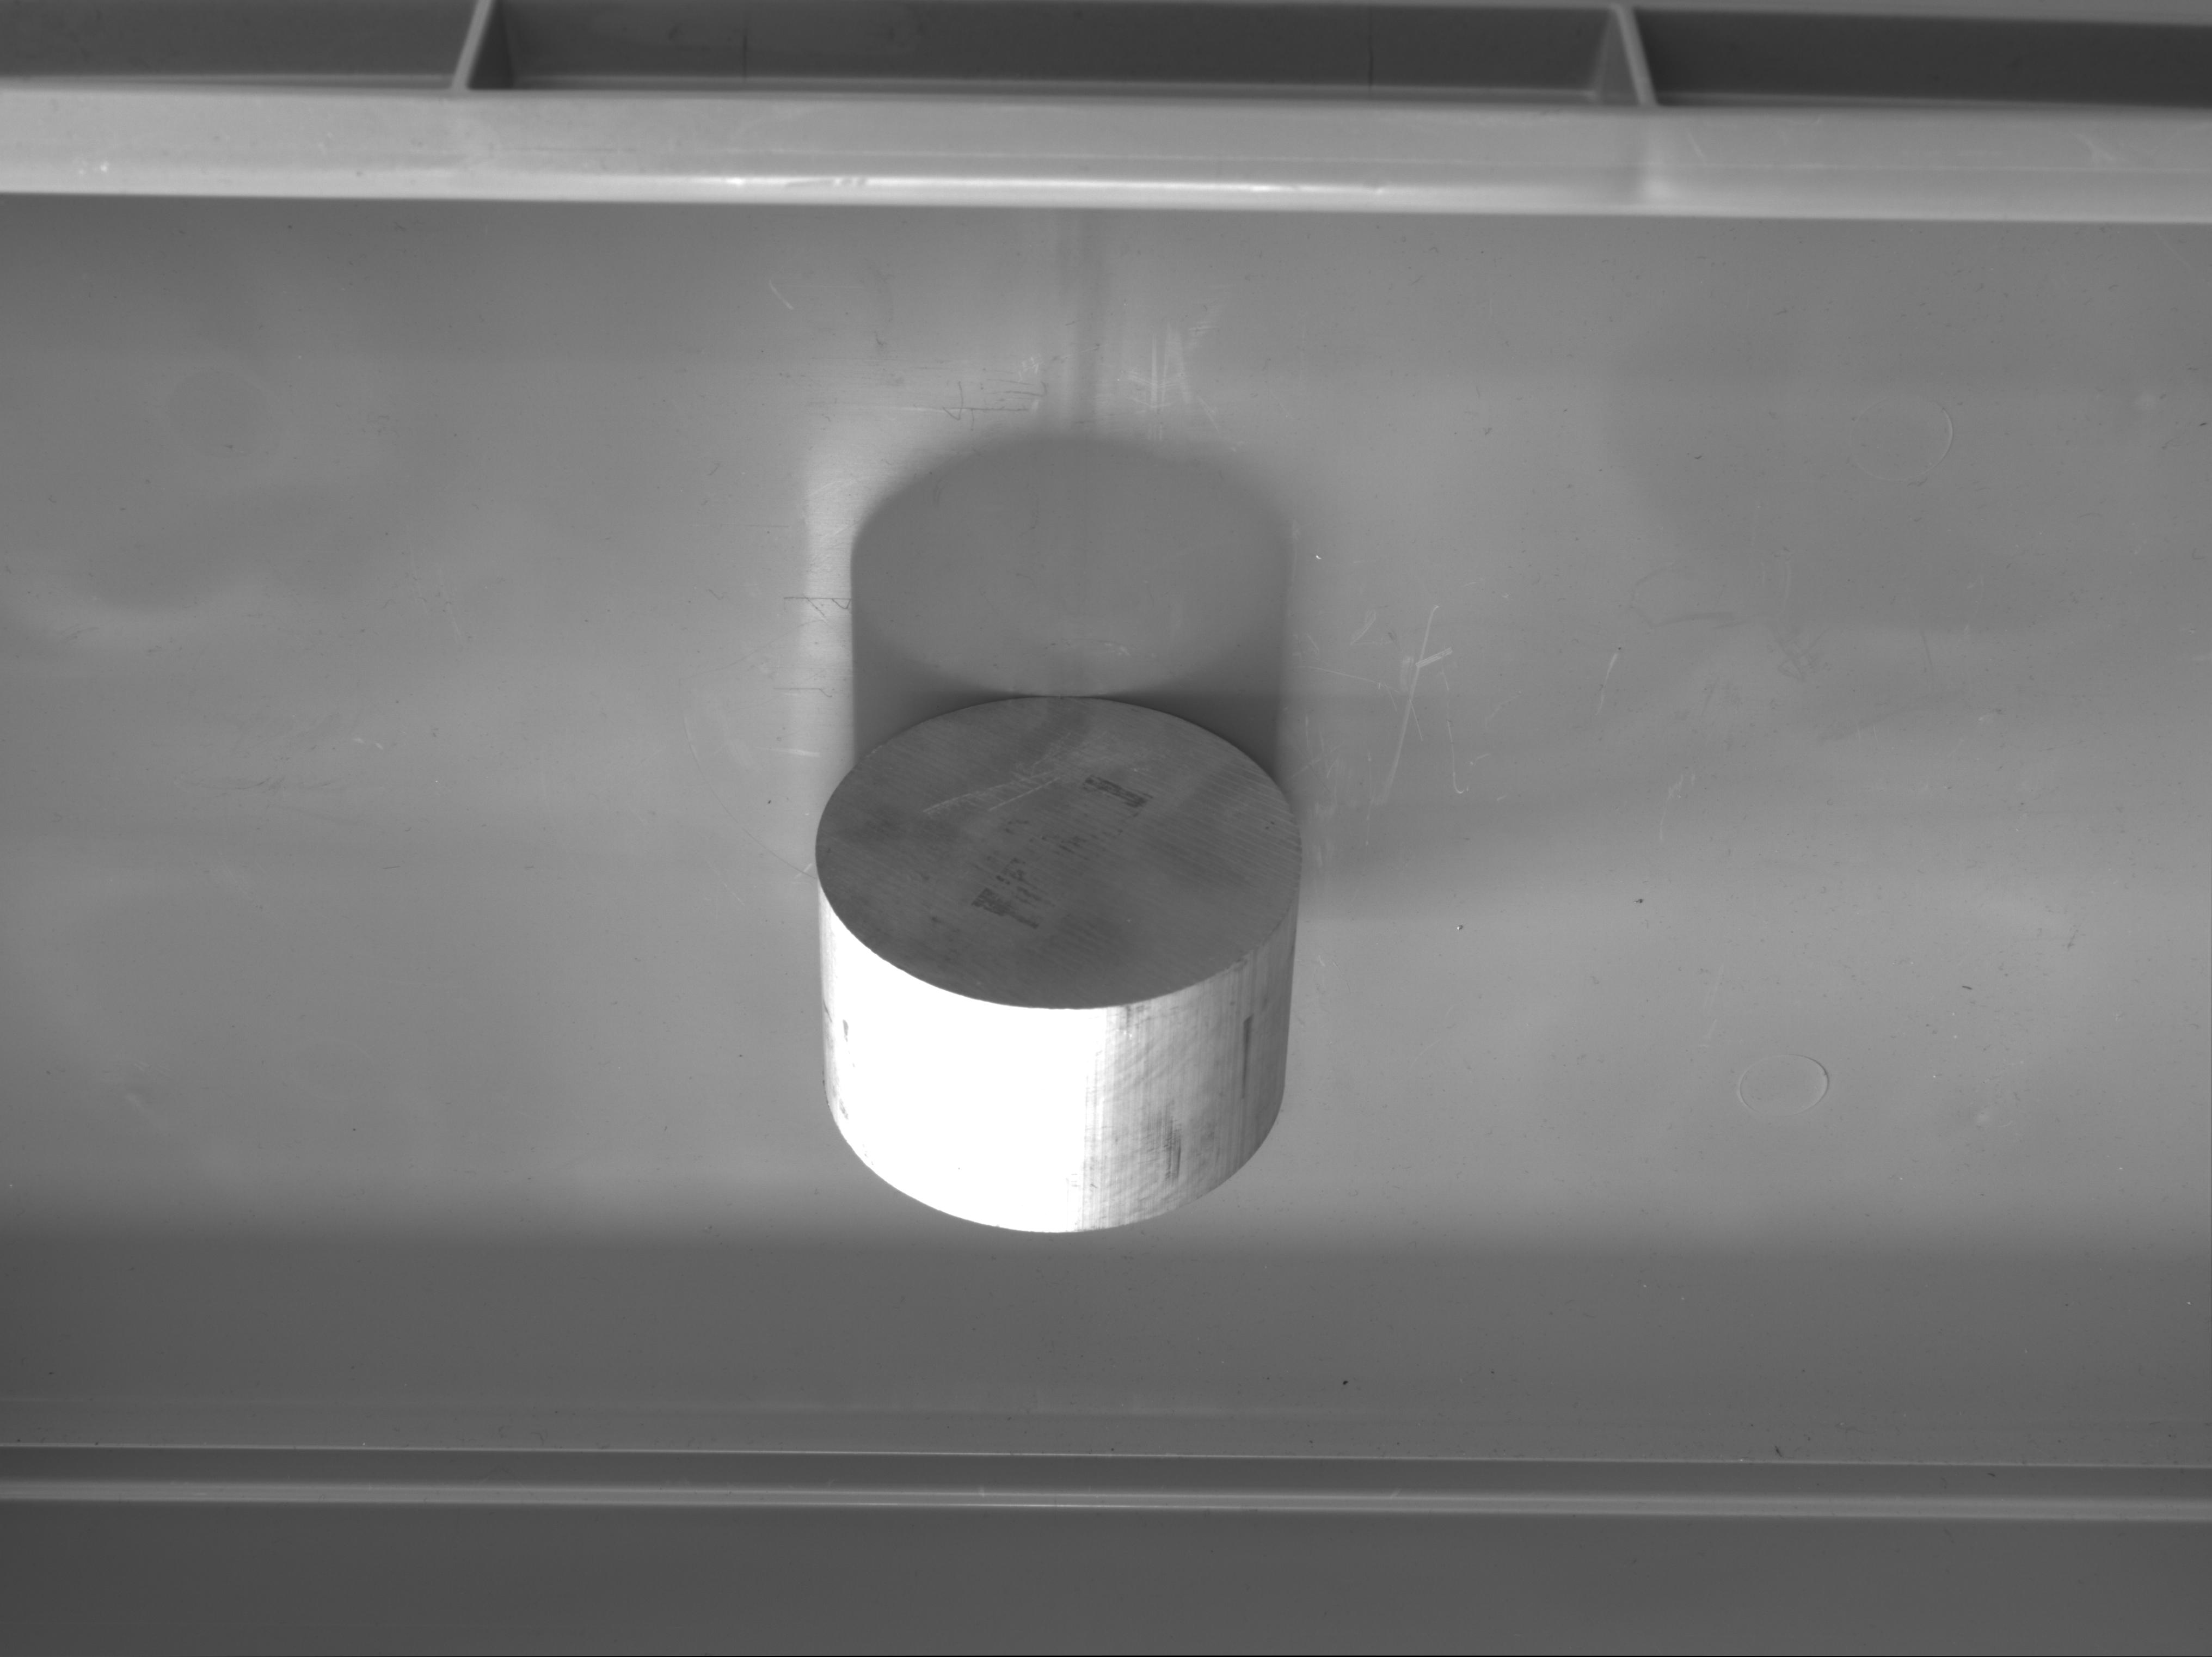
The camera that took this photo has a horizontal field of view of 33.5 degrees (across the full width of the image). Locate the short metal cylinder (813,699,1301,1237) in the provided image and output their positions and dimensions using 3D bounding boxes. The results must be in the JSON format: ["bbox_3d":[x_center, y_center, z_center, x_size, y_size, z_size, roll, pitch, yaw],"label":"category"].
[{"bbox_3d":[-0.009,0.022,0.620,0.080,0.080,0.050,1,130,-1],"label":"short metal cylinder"}]
